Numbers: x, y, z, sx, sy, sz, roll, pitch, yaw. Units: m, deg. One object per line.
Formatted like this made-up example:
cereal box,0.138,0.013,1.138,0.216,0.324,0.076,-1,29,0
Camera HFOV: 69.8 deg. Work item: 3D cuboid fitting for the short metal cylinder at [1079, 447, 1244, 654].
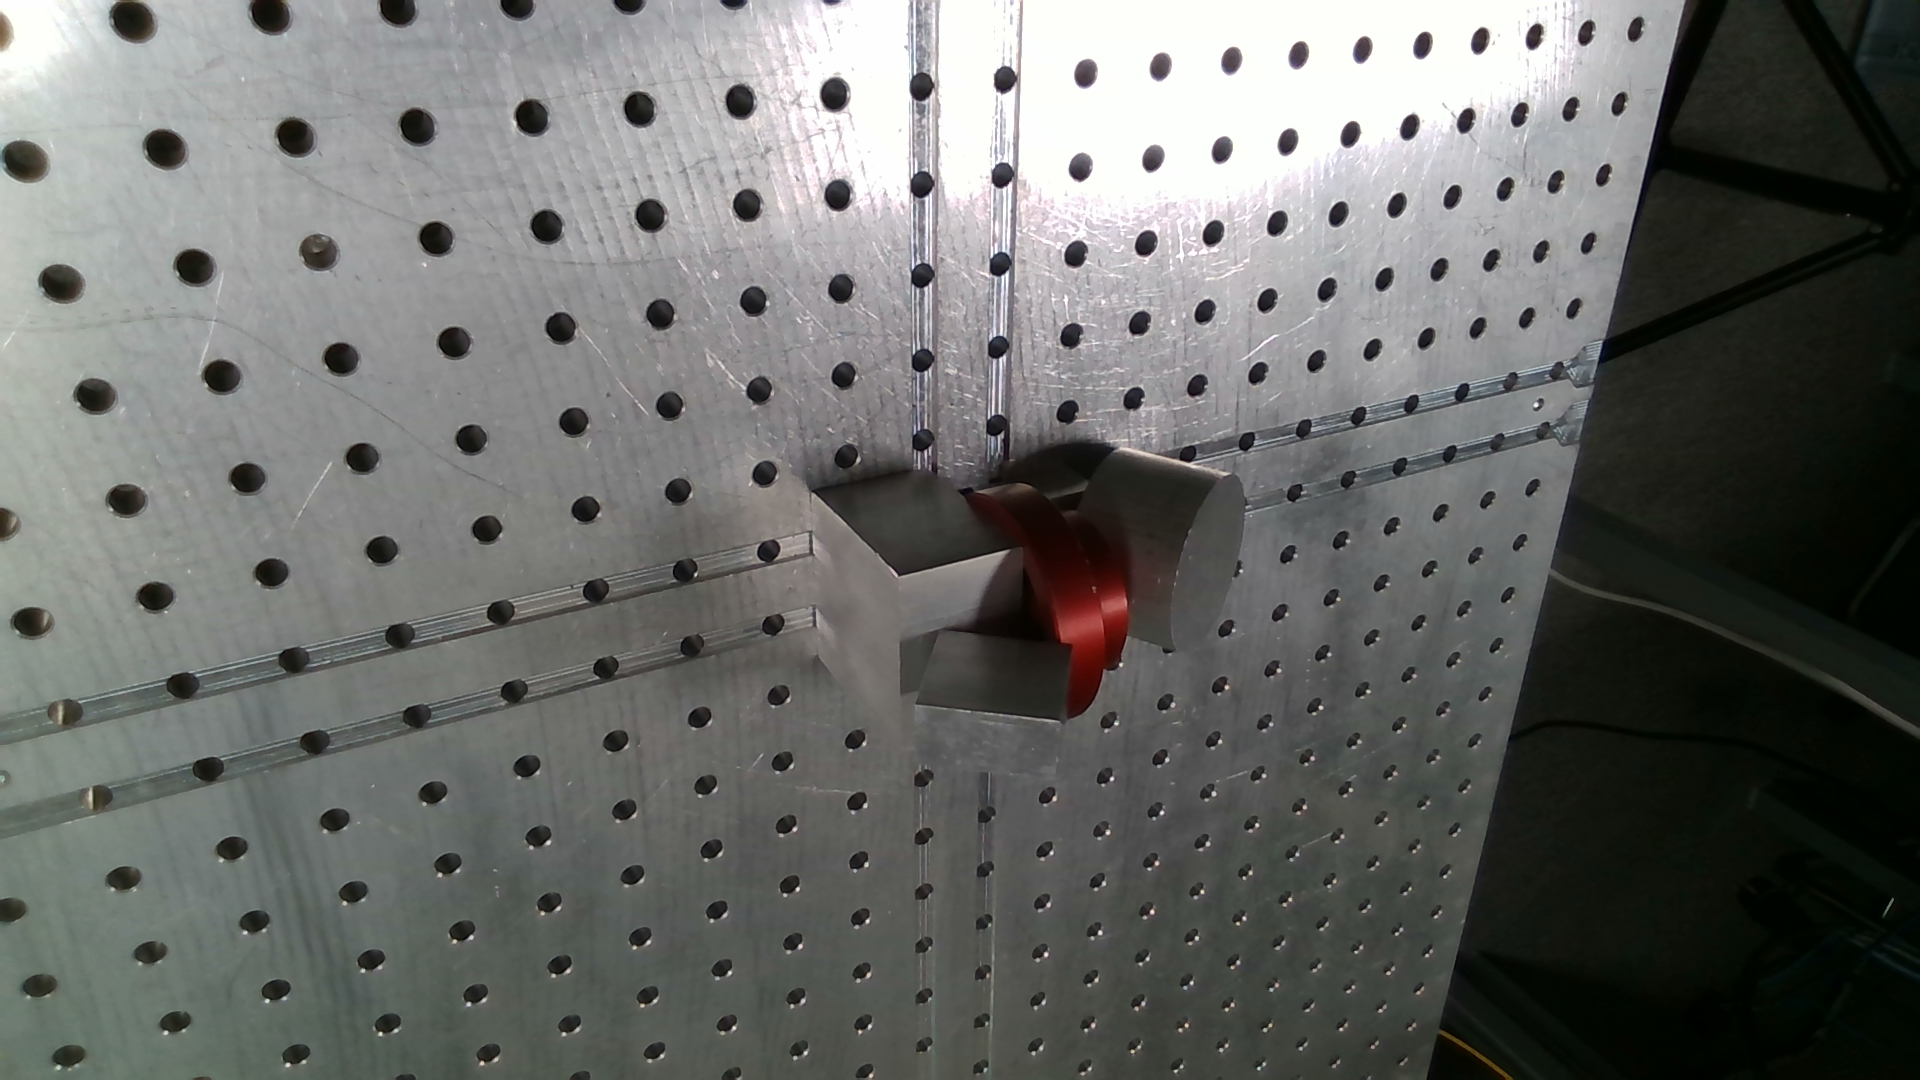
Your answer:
short metal cylinder,0.086,0.004,0.601,0.080,0.050,0.080,-39,137,-48

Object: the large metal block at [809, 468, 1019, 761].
large metal block,-0.020,0.027,0.550,0.050,0.080,0.080,-14,121,-25

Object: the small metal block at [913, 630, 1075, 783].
small metal block,0.013,0.058,0.490,0.050,0.050,0.025,6,118,8

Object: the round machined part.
round machined part,0.032,0.025,0.556,0.042,0.098,0.098,-14,121,-25

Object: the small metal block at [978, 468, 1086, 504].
small metal block,0.031,0.000,0.602,0.050,0.025,0.050,-14,121,-25
